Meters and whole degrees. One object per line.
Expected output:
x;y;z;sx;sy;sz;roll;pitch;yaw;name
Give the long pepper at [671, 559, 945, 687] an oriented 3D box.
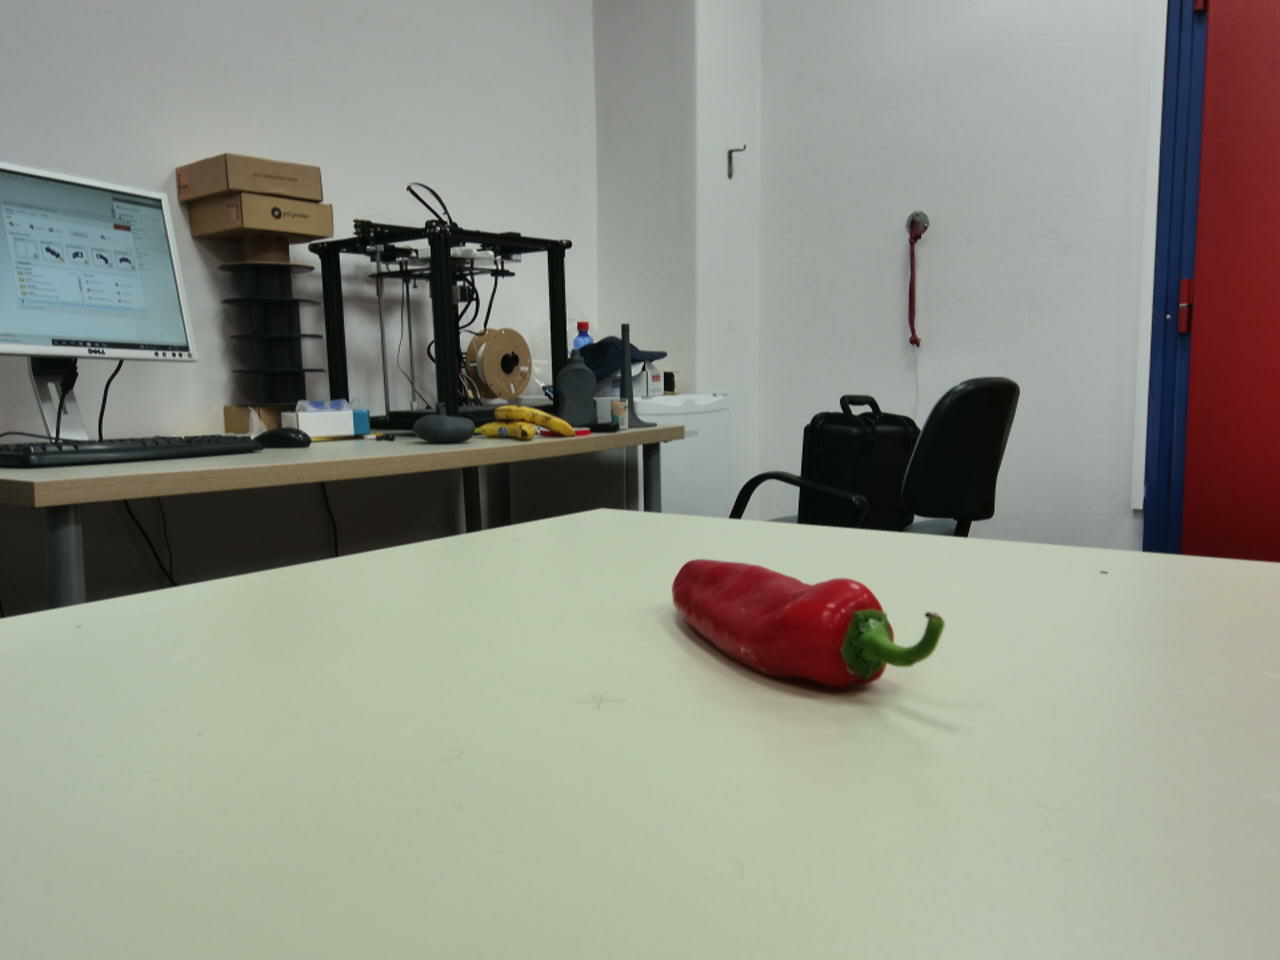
0.058;0.058;0.447;0.050;0.043;0.211;-1;4;-21;long pepper
